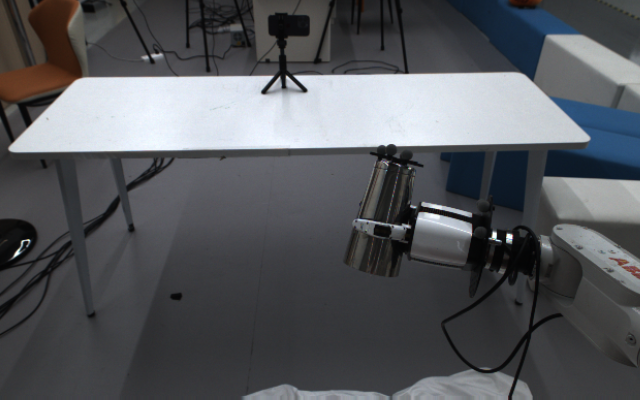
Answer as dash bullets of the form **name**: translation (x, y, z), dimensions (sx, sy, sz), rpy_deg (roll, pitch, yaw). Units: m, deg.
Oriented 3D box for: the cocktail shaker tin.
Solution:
- **cocktail shaker tin**: translation (0.101, 0.025, 0.771), dimensions (0.093, 0.170, 0.093), rpy_deg (13, 5, -1)
